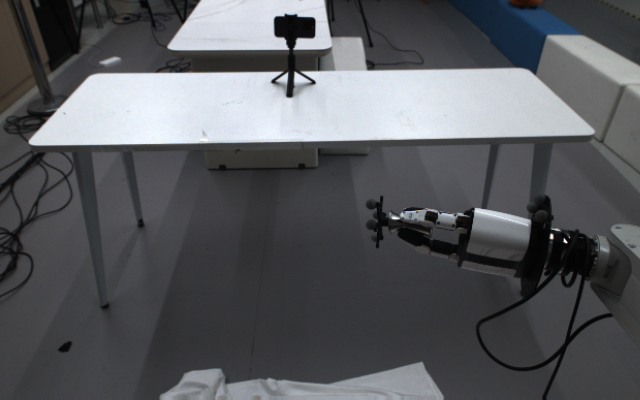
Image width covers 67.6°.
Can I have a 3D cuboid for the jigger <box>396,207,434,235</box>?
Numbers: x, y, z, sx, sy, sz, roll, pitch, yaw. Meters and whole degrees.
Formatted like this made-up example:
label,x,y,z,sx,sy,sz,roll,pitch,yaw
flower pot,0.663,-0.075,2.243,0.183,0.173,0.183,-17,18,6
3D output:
label,x,y,z,sx,sy,sz,roll,pitch,yaw
jigger,0.156,0.033,0.792,0.071,0.043,0.043,2,34,15
